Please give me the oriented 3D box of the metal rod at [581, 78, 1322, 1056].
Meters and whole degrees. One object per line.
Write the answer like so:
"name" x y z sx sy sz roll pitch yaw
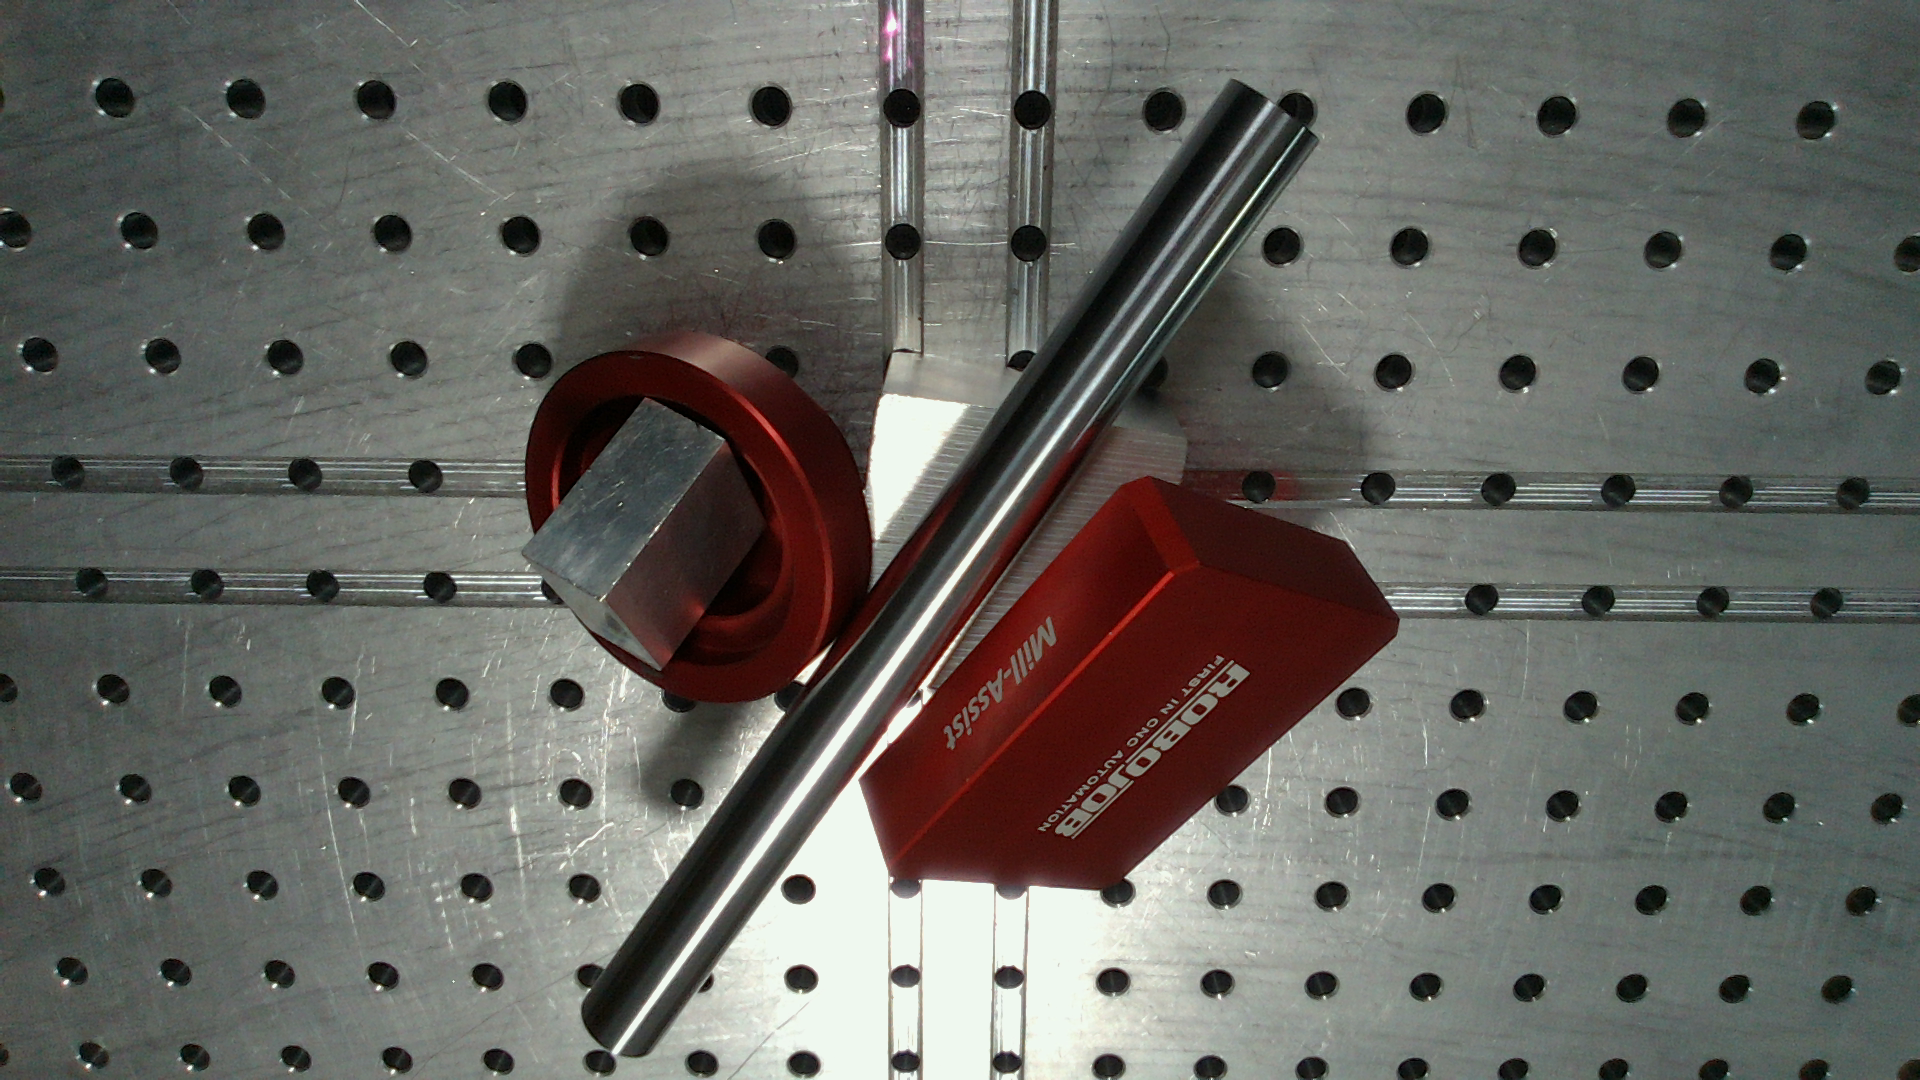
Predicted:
"metal rod" -0.013 0.021 0.350 0.025 0.025 0.300 32 107 -11

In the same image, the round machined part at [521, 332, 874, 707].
"round machined part" -0.066 -0.008 0.370 0.098 0.042 0.098 10 115 23

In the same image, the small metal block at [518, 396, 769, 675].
"small metal block" -0.079 0.000 0.353 0.025 0.050 0.050 29 71 17

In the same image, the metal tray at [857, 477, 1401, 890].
"metal tray" 0.044 0.046 0.375 0.090 0.030 0.130 14 128 -39

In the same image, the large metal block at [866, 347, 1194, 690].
"large metal block" 0.013 -0.003 0.382 0.080 0.050 0.080 8 110 -3
